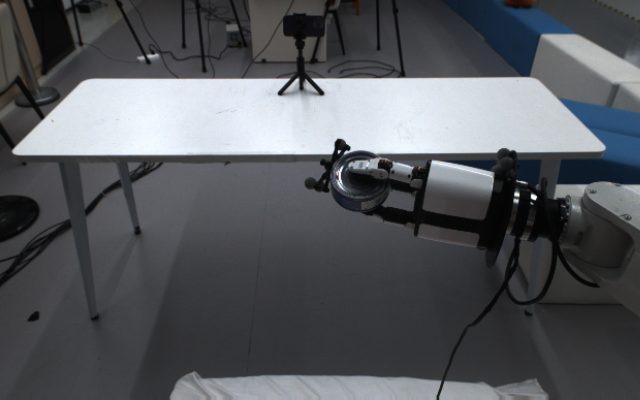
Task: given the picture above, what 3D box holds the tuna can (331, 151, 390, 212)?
[{"bbox_3d":[0.060,-0.028,0.690,0.085,0.034,0.085,0,61,1],"label":"tuna can"}]
